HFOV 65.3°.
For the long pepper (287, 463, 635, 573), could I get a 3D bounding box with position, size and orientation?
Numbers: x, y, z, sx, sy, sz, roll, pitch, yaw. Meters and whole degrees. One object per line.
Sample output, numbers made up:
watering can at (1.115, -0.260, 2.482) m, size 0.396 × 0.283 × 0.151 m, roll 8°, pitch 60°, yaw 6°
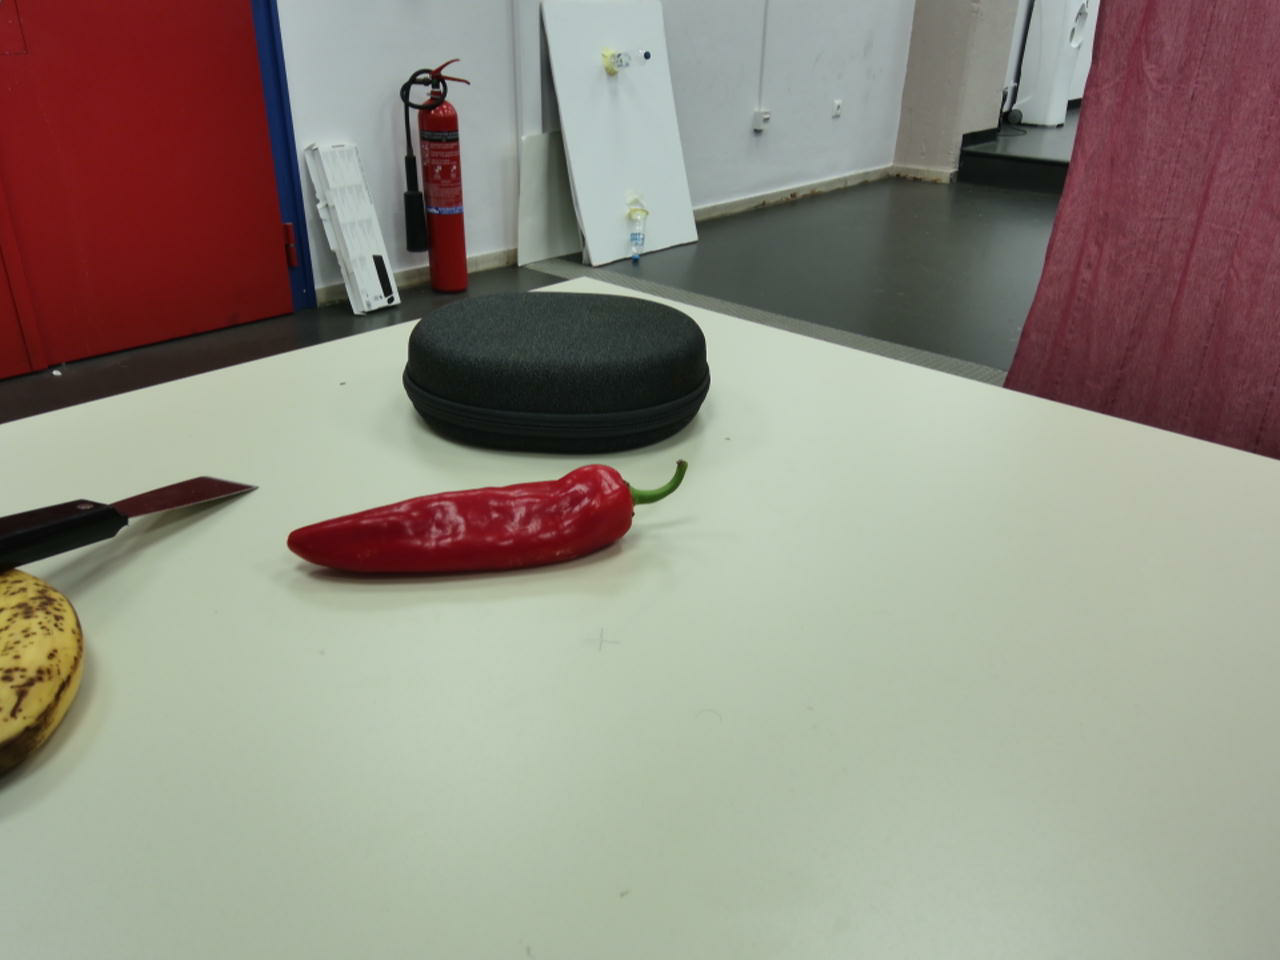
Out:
long pepper at (-0.076, 0.022, 0.522) m, size 0.211 × 0.043 × 0.050 m, roll -7°, pitch 25°, yaw -16°
